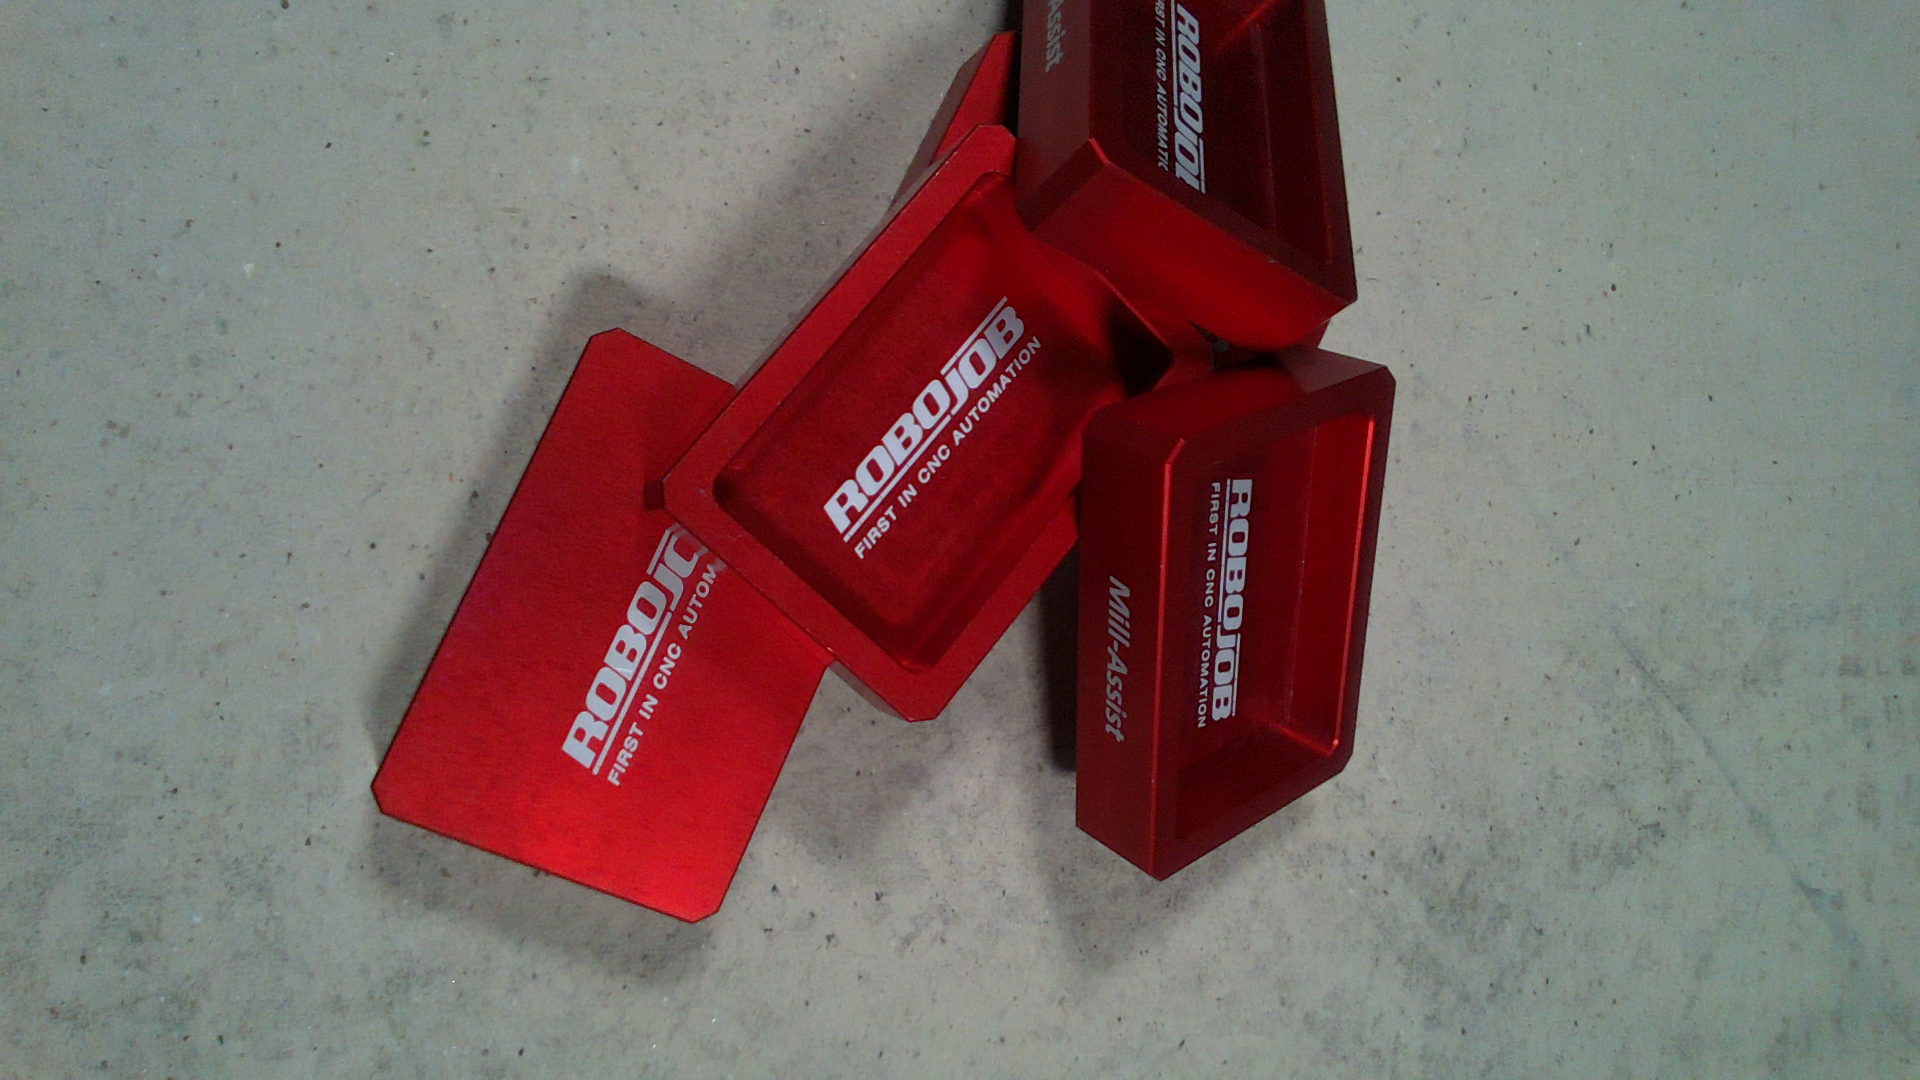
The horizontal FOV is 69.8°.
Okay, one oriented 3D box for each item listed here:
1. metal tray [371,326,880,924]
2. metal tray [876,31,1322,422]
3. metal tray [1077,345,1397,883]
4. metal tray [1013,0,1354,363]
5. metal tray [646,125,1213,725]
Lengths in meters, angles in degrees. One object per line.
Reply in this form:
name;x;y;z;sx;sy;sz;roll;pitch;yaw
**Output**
metal tray;-0.082;0.022;0.360;0.090;0.030;0.130;26;81;-18
metal tray;0.042;-0.074;0.406;0.130;0.030;0.090;28;81;-18
metal tray;0.076;0.019;0.382;0.090;0.030;0.130;-21;121;-35
metal tray;0.061;-0.123;0.377;0.090;0.030;0.130;22;55;-28
metal tray;-0.006;-0.030;0.357;0.090;0.030;0.130;43;77;-15
